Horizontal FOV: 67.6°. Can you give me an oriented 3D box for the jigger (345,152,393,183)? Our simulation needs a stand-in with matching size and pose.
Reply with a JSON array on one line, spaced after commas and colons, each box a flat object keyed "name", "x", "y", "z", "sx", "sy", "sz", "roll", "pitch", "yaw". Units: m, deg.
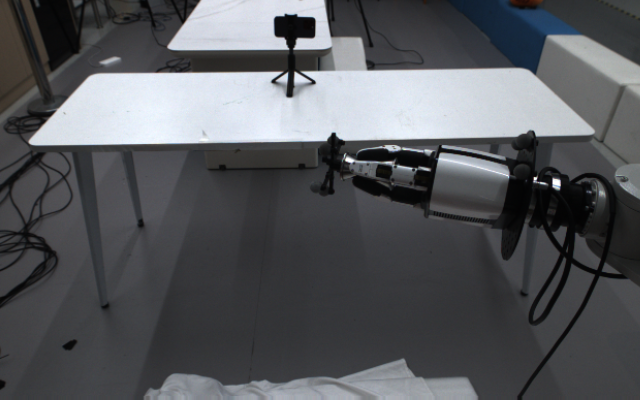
[{"name": "jigger", "x": 0.071, "y": -0.042, "z": 0.636, "sx": 0.071, "sy": 0.043, "sz": 0.043, "roll": 10, "pitch": 35, "yaw": 16}]
